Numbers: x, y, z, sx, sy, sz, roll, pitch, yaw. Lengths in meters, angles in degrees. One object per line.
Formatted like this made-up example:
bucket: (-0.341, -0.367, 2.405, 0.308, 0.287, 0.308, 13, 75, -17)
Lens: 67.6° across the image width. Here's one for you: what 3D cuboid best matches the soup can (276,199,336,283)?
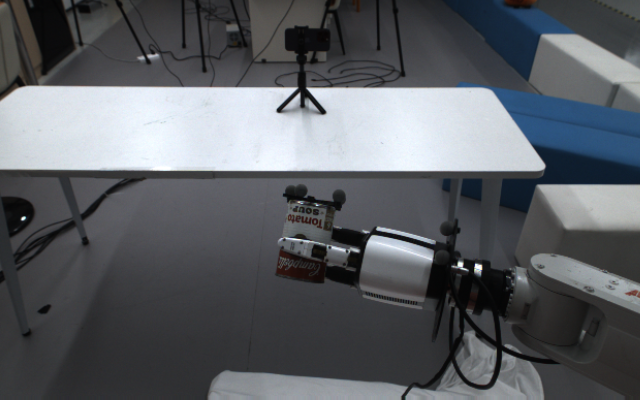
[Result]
soup can: (-0.017, 0.056, 0.651, 0.067, 0.101, 0.067, 9, -5, 1)
